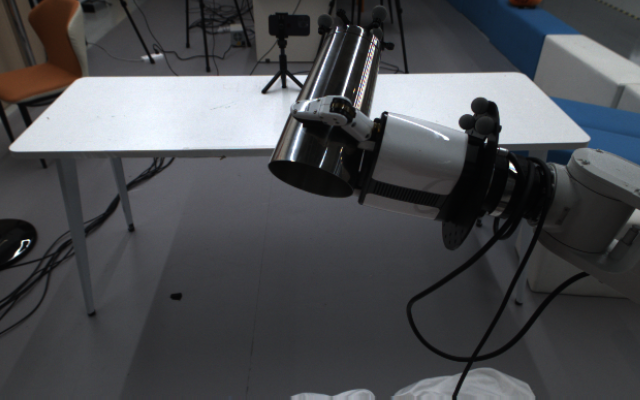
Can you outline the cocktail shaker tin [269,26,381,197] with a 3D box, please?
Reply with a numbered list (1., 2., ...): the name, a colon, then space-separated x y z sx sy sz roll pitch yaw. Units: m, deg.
1. cocktail shaker tin: 0.015 -0.098 0.522 0.093 0.093 0.170 13 73 15
